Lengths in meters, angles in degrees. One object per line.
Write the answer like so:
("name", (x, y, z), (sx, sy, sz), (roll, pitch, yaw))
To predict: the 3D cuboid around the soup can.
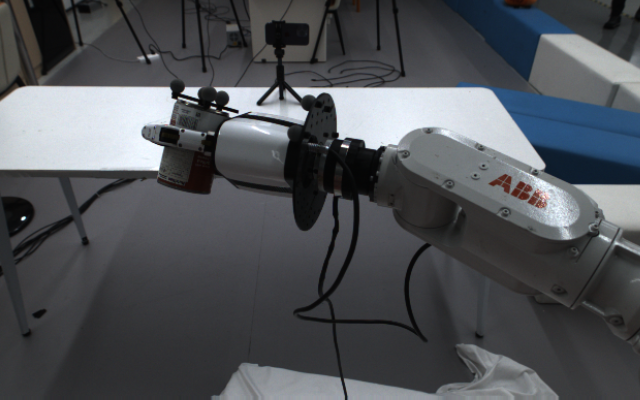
("soup can", (-0.154, -0.064, 0.592), (0.067, 0.101, 0.067), (15, 7, -2))
